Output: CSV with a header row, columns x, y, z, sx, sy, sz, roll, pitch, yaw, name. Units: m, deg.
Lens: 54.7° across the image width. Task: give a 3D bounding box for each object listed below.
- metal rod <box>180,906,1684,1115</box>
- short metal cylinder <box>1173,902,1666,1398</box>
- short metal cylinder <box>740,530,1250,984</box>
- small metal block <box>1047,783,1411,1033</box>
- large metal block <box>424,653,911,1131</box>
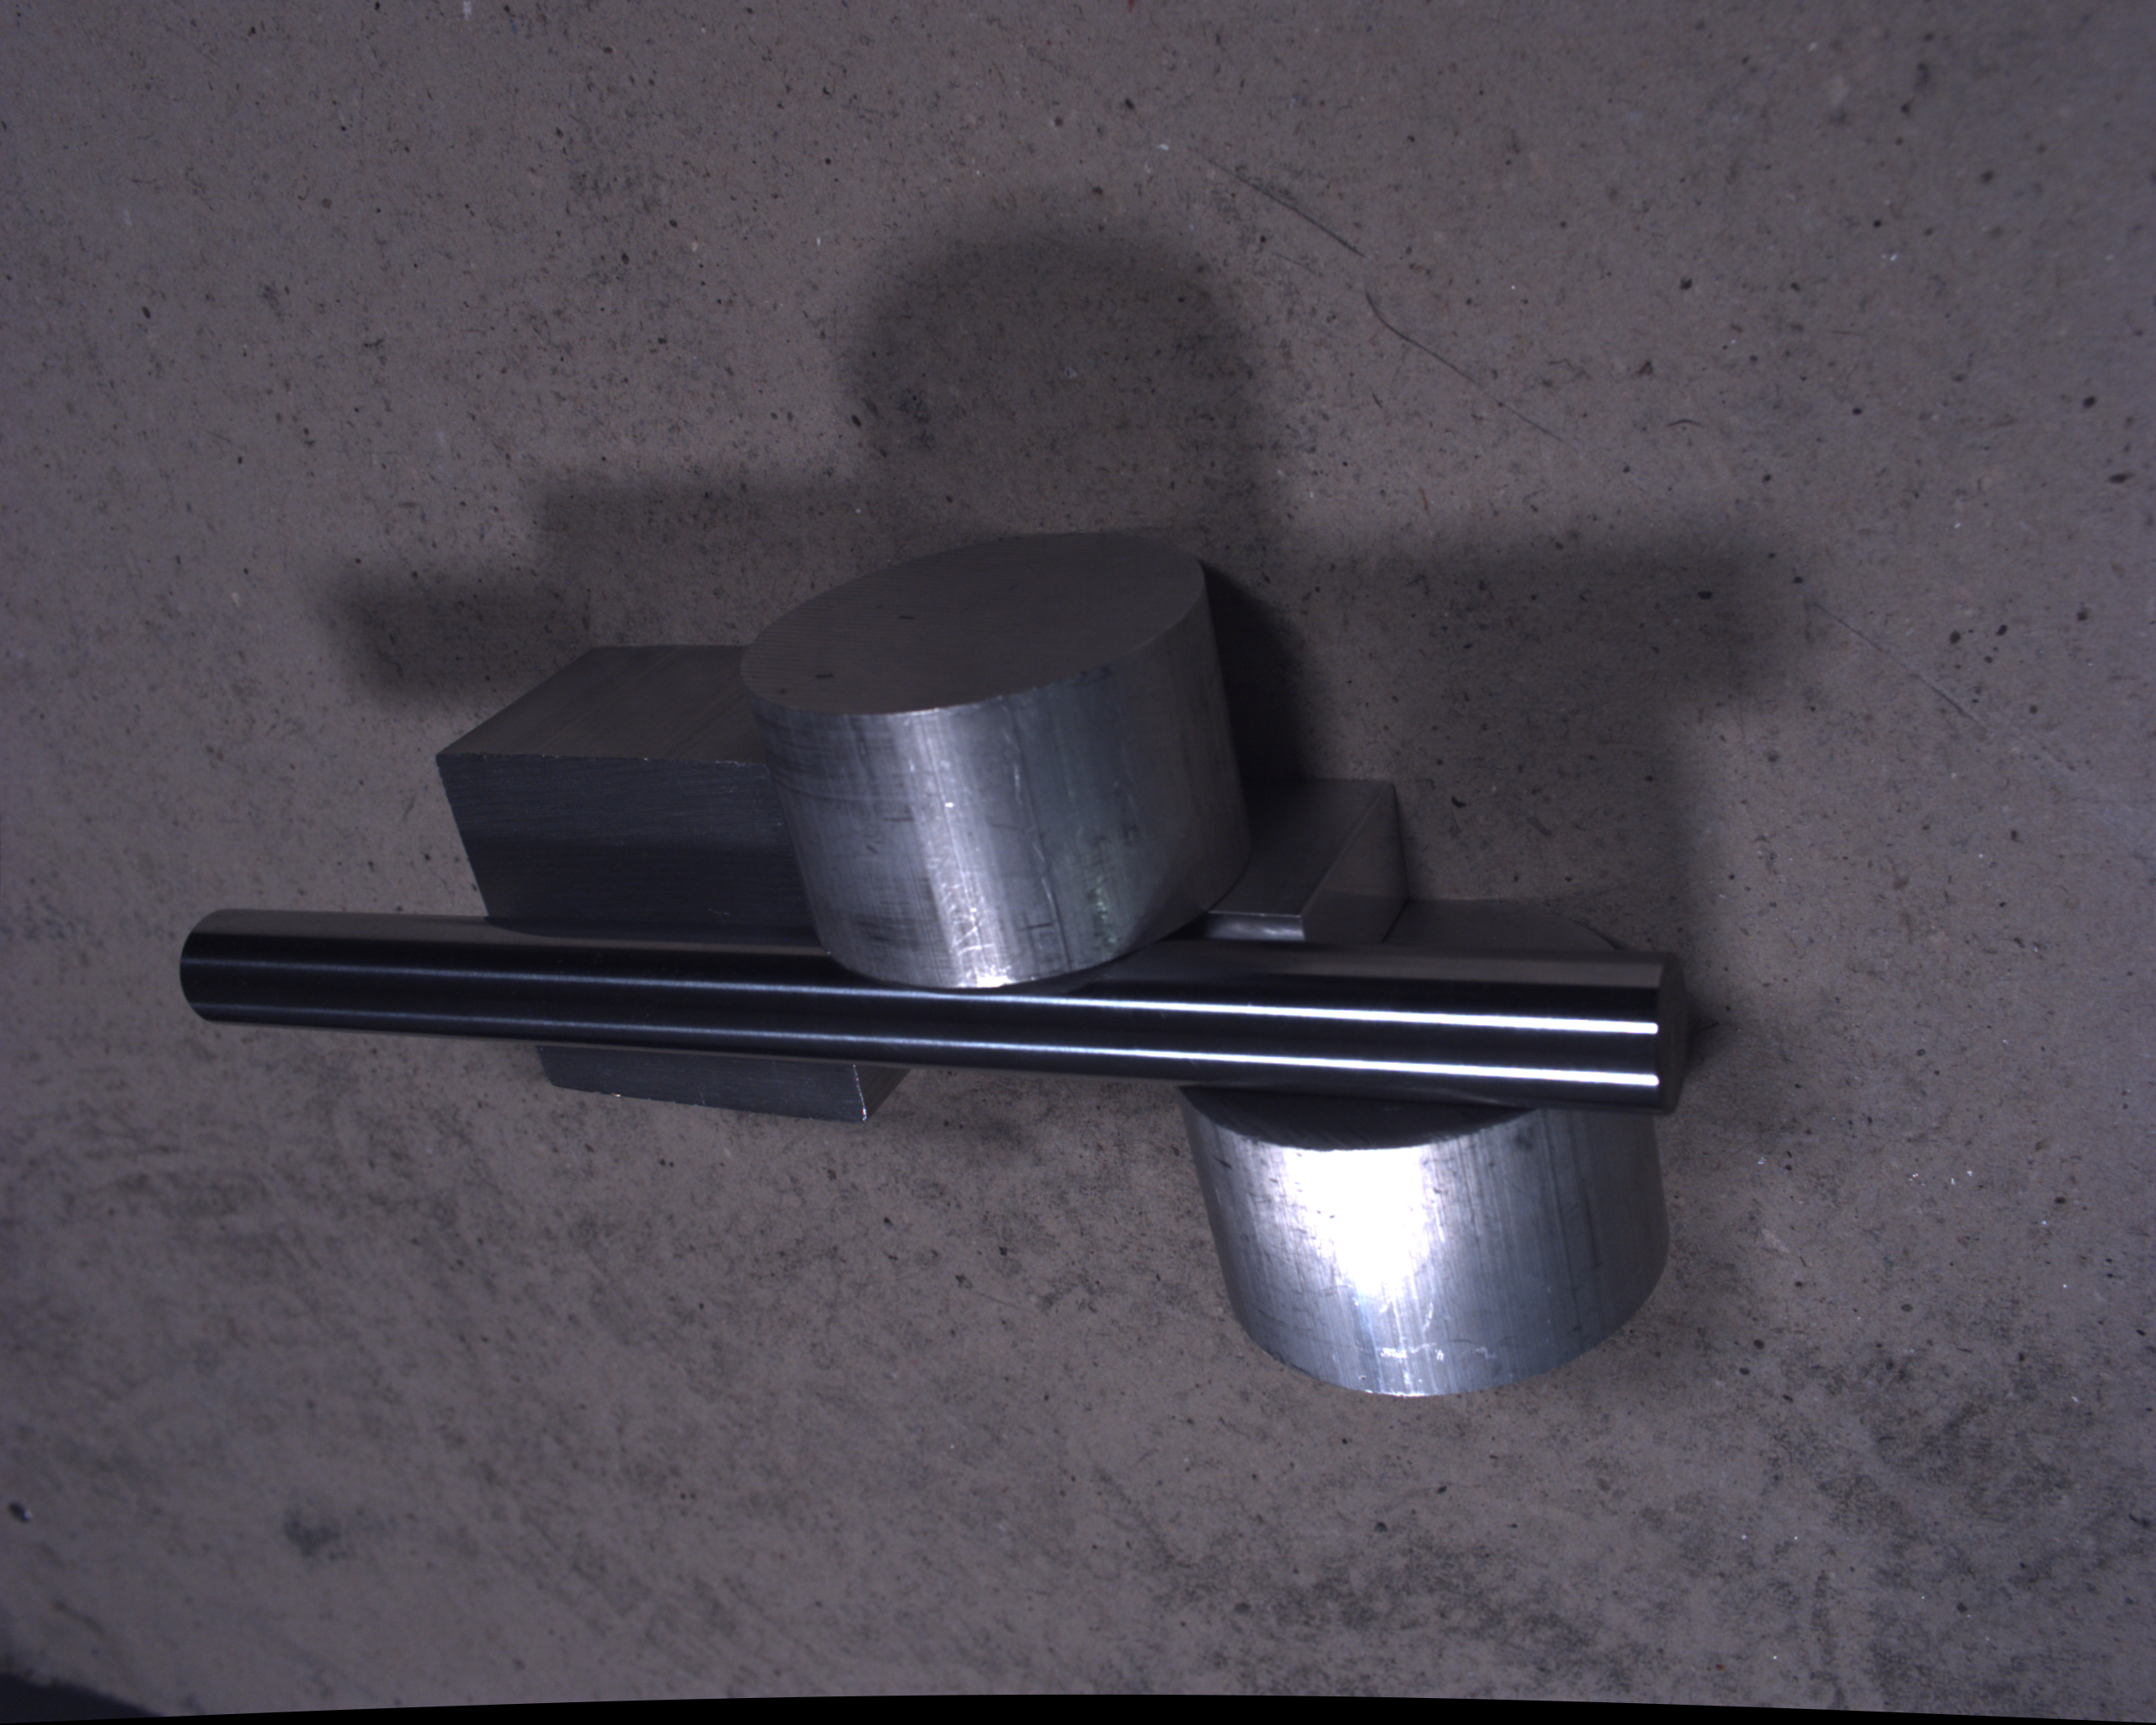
x,y,z,sx,sy,sz,roll,pitch,yaw,name
-0.046,0.024,0.380,0.301,0.025,0.025,1,119,26,metal rod
0.060,0.048,0.369,0.080,0.080,0.050,0,118,28,short metal cylinder
-0.013,-0.021,0.367,0.080,0.080,0.050,2,120,27,short metal cylinder
0.028,0.008,0.380,0.050,0.050,0.025,1,119,27,small metal block
-0.075,0.004,0.428,0.080,0.050,0.079,3,120,26,large metal block
